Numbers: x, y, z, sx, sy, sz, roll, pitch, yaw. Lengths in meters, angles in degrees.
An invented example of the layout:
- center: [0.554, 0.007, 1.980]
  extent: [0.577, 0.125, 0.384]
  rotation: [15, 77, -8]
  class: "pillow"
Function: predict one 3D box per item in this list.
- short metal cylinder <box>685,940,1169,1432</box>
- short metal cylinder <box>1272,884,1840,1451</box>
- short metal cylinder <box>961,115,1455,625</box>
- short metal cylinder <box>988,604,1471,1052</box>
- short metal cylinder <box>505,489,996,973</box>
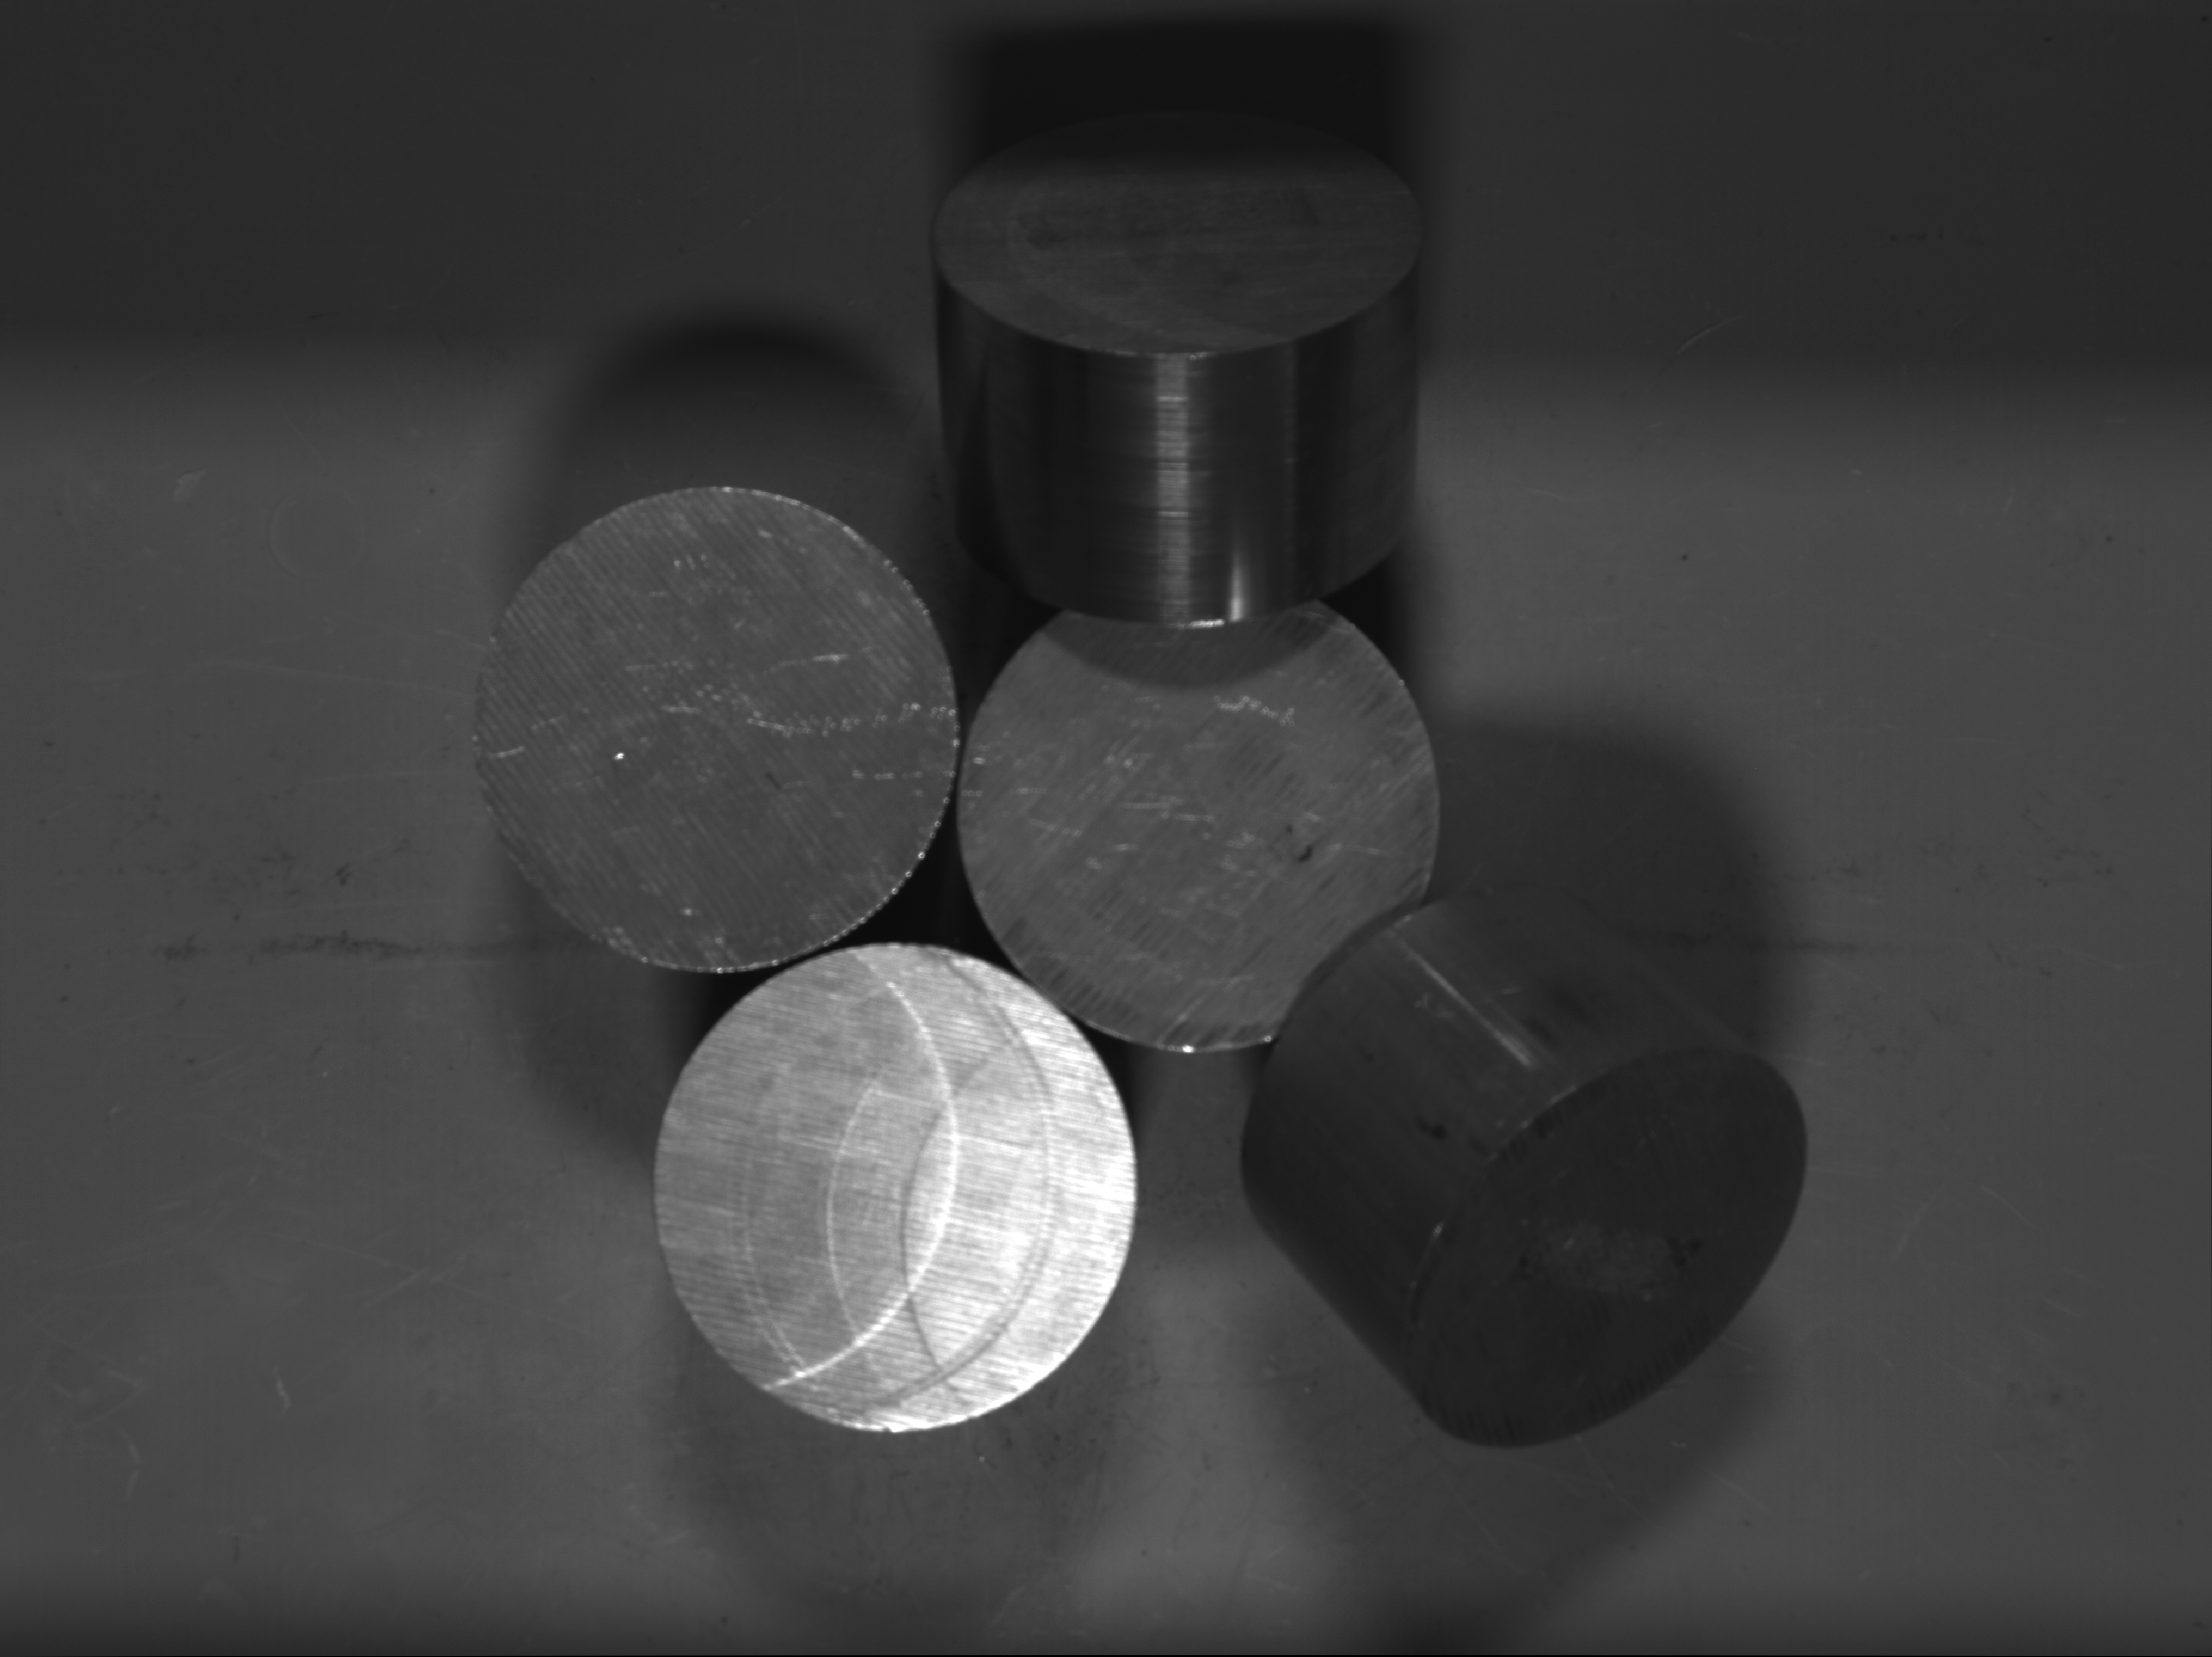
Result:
- center: [-0.030, 0.060, 0.631]
  extent: [0.080, 0.050, 0.080]
  rotation: [0, 90, 0]
  class: "short metal cylinder"
- center: [0.075, 0.056, 0.612]
  extent: [0.080, 0.050, 0.080]
  rotation: [-18, 129, -23]
  class: "short metal cylinder"
- center: [0.017, -0.077, 0.610]
  extent: [0.080, 0.080, 0.050]
  rotation: [-3, 128, 0]
  class: "short metal cylinder"
- center: [0.020, -0.003, 0.631]
  extent: [0.080, 0.050, 0.080]
  rotation: [0, 90, 0]
  class: "short metal cylinder"
- center: [-0.059, -0.016, 0.630]
  extent: [0.080, 0.050, 0.080]
  rotation: [0, 90, 0]
  class: "short metal cylinder"
